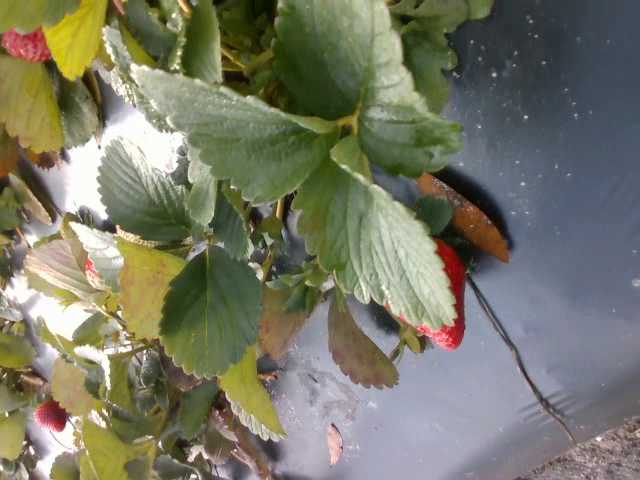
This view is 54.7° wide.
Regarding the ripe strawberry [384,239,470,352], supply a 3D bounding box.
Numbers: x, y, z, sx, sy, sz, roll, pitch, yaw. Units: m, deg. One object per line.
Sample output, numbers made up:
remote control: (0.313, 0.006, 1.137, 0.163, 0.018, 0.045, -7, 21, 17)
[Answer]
ripe strawberry: (0.051, 0.028, 0.279, 0.049, 0.053, 0.050, -8, -31, -29)
